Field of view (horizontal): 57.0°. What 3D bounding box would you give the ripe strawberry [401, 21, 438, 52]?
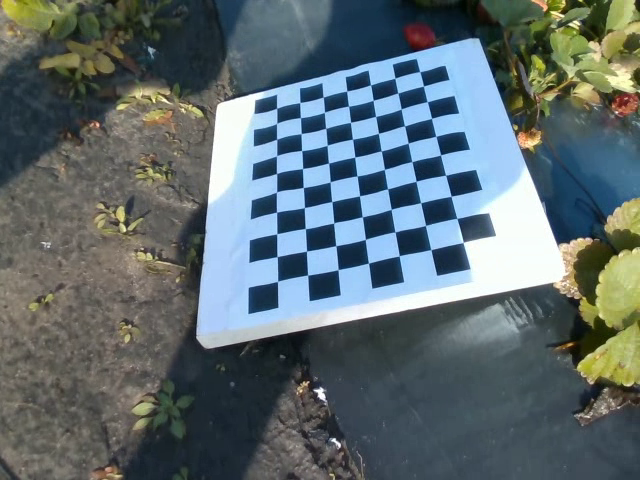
[{"bbox_3d":[0.081,-0.186,0.539,0.038,0.035,0.033,23,-49,-30],"label":"ripe strawberry"}]
